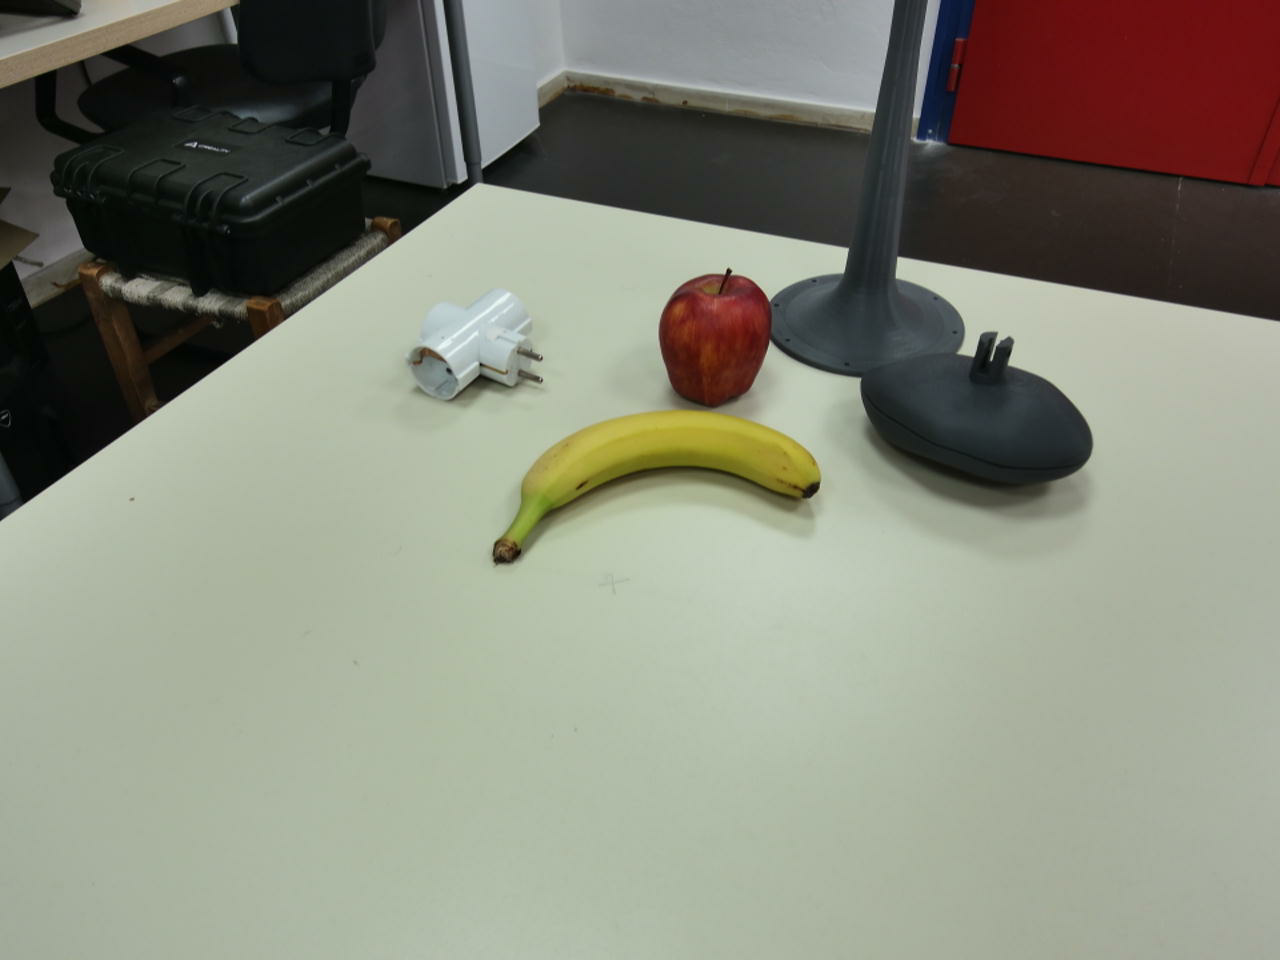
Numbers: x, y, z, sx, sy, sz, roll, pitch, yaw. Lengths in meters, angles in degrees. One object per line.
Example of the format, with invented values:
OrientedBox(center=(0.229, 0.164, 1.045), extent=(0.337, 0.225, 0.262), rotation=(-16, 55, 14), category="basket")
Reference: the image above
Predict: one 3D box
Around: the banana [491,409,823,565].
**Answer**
OrientedBox(center=(0.005, -0.007, 0.606), extent=(0.196, 0.041, 0.094), rotation=(-8, 39, -8), category="banana")
